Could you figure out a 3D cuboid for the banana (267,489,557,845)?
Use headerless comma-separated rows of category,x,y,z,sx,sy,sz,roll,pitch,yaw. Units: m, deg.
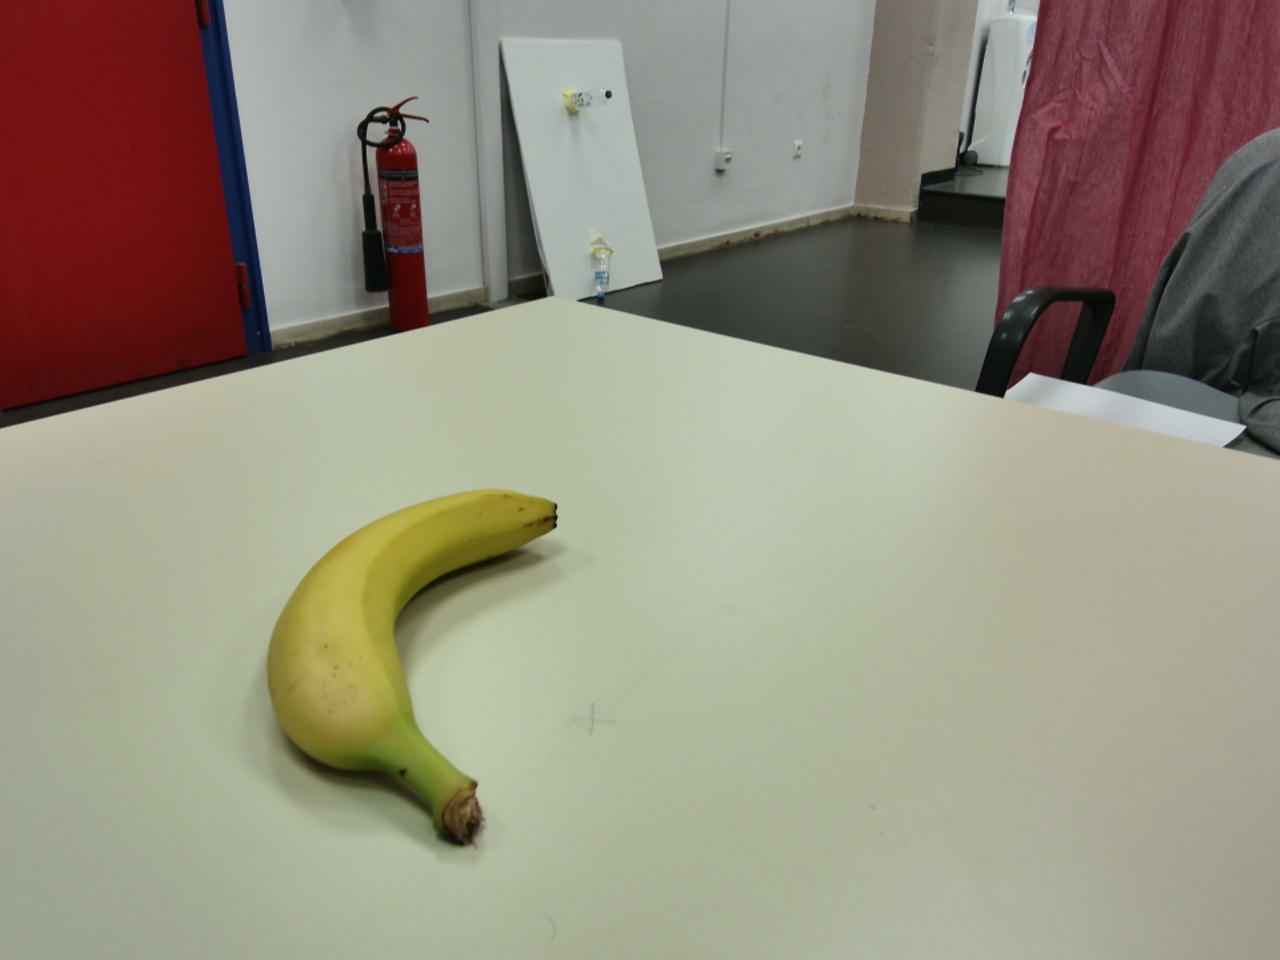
banana,-0.089,0.052,0.382,0.094,0.041,0.196,2,22,2
